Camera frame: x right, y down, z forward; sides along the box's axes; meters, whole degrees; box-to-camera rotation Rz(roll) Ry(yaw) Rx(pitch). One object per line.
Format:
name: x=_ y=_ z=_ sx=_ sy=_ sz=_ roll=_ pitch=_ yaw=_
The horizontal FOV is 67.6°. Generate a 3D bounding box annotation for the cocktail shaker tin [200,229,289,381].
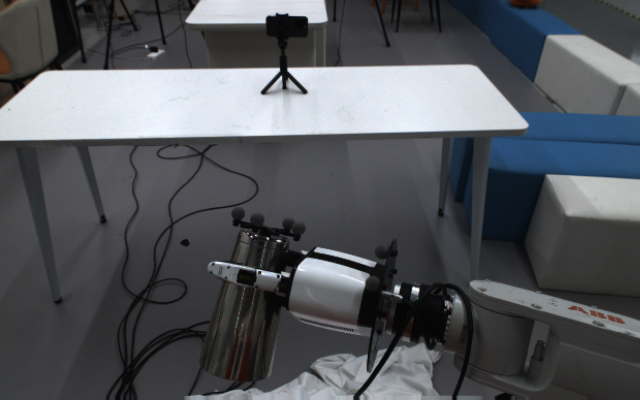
cocktail shaker tin: x=-0.085 y=0.125 z=0.613 sx=0.093 sy=0.170 sz=0.093 roll=13 pitch=1 yaw=0
